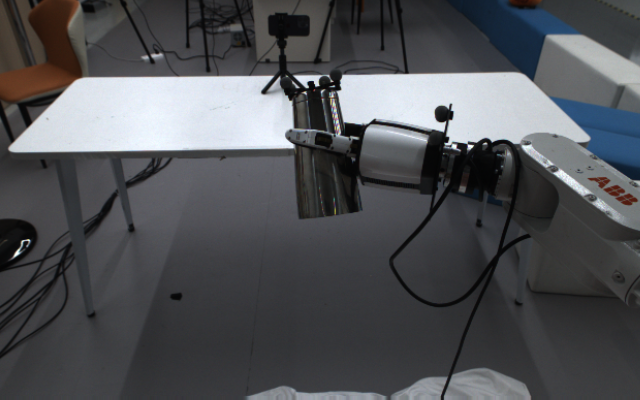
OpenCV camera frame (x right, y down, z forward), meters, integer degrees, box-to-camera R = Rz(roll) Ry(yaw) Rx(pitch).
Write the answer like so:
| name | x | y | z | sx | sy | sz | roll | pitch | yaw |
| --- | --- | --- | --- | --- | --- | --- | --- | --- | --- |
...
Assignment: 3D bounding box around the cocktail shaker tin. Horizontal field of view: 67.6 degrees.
| name | x | y | z | sx | sy | sz | roll | pitch | yaw |
| --- | --- | --- | --- | --- | --- | --- | --- | --- | --- |
| cocktail shaker tin | 0.003 | -0.064 | 0.683 | 0.093 | 0.170 | 0.093 | -8 | 1 | 0 |
